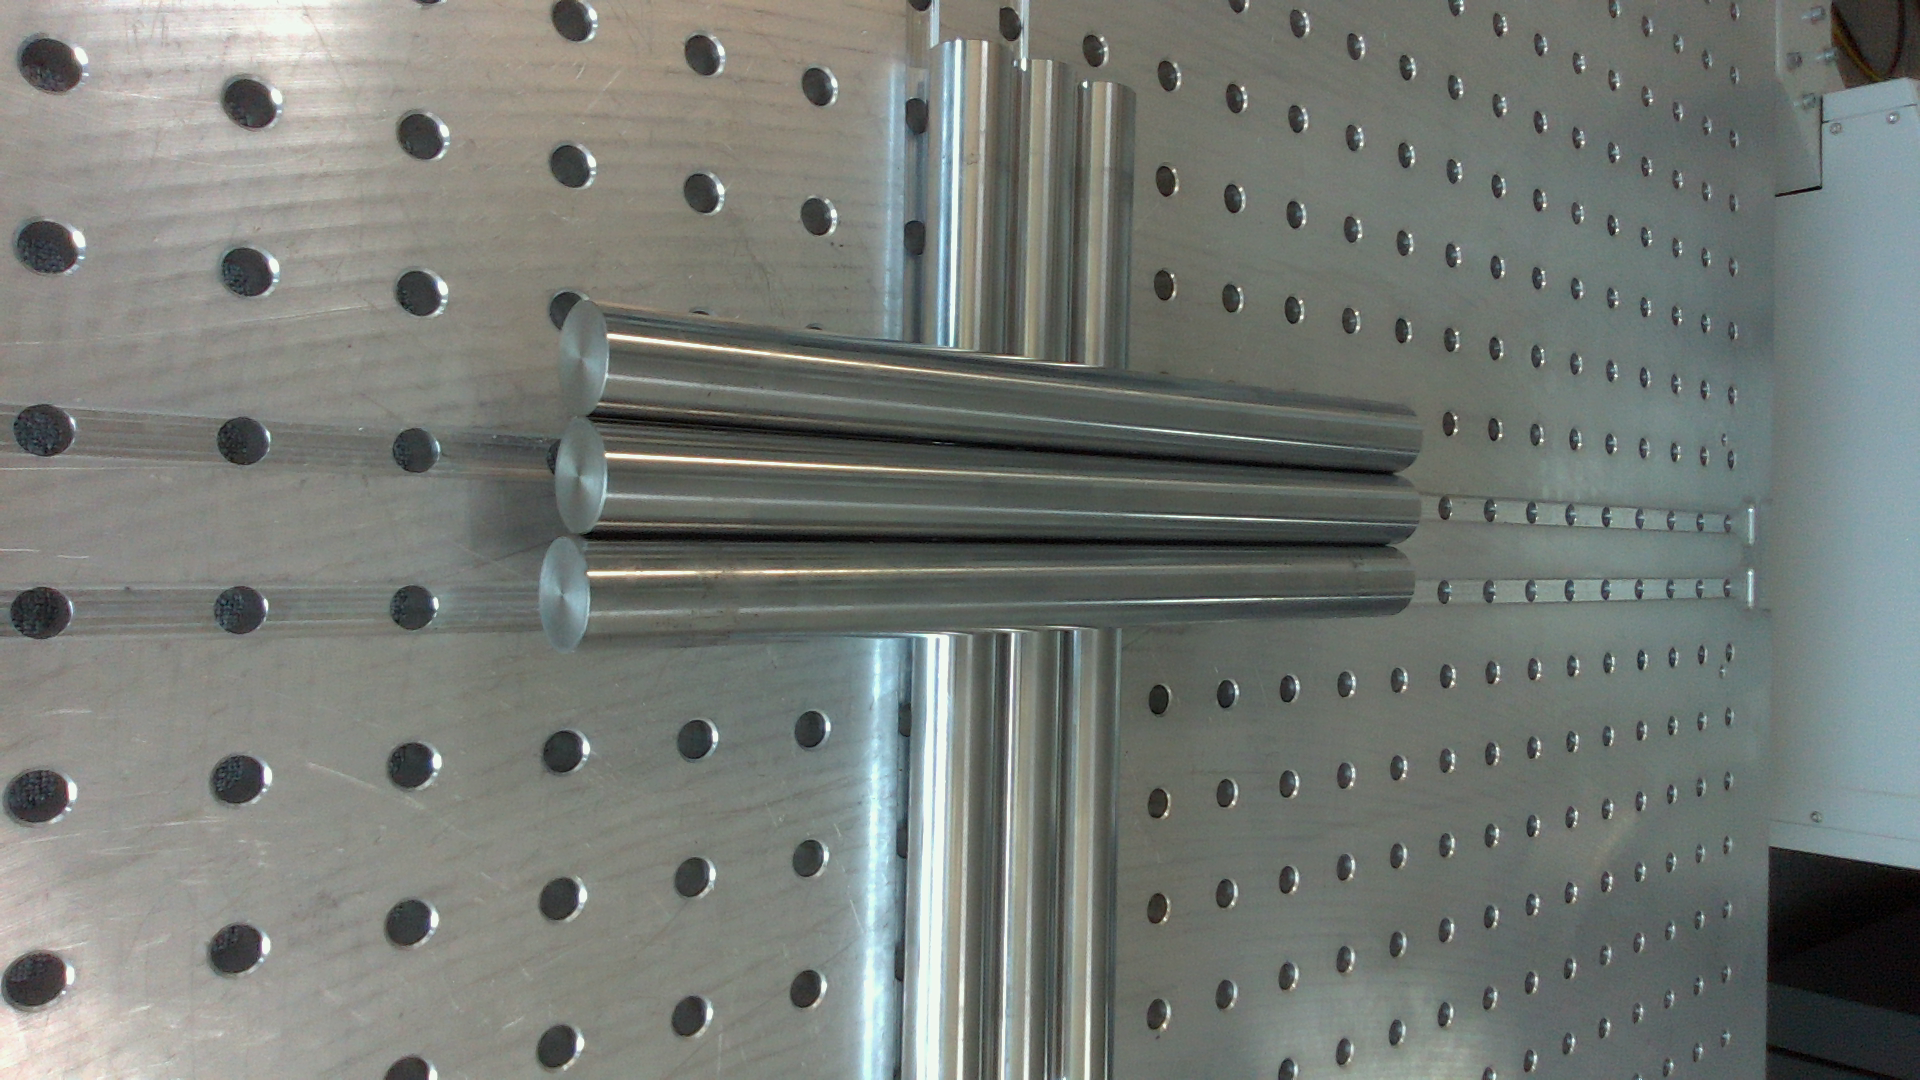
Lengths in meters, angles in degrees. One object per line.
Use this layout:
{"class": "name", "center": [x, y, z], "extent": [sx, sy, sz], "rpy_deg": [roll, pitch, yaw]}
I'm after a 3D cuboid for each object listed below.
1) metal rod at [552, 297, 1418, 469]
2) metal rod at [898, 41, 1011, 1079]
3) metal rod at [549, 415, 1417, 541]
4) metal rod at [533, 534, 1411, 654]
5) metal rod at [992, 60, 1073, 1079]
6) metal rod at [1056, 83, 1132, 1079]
{"class": "metal rod", "center": [0.034, -0.038, 0.388], "extent": [0.301, 0.025, 0.025], "rpy_deg": [1, 90, -40]}
{"class": "metal rod", "center": [-0.002, 0.012, 0.390], "extent": [0.025, 0.025, 0.300], "rpy_deg": [2, 88, -40]}
{"class": "metal rod", "center": [0.034, -0.013, 0.387], "extent": [0.301, 0.025, 0.025], "rpy_deg": [1, 90, -40]}
{"class": "metal rod", "center": [0.031, 0.013, 0.385], "extent": [0.301, 0.025, 0.025], "rpy_deg": [1, 90, -40]}
{"class": "metal rod", "center": [0.017, 0.012, 0.406], "extent": [0.025, 0.025, 0.300], "rpy_deg": [2, 88, -40]}
{"class": "metal rod", "center": [0.037, 0.013, 0.422], "extent": [0.025, 0.025, 0.300], "rpy_deg": [2, 88, -40]}
